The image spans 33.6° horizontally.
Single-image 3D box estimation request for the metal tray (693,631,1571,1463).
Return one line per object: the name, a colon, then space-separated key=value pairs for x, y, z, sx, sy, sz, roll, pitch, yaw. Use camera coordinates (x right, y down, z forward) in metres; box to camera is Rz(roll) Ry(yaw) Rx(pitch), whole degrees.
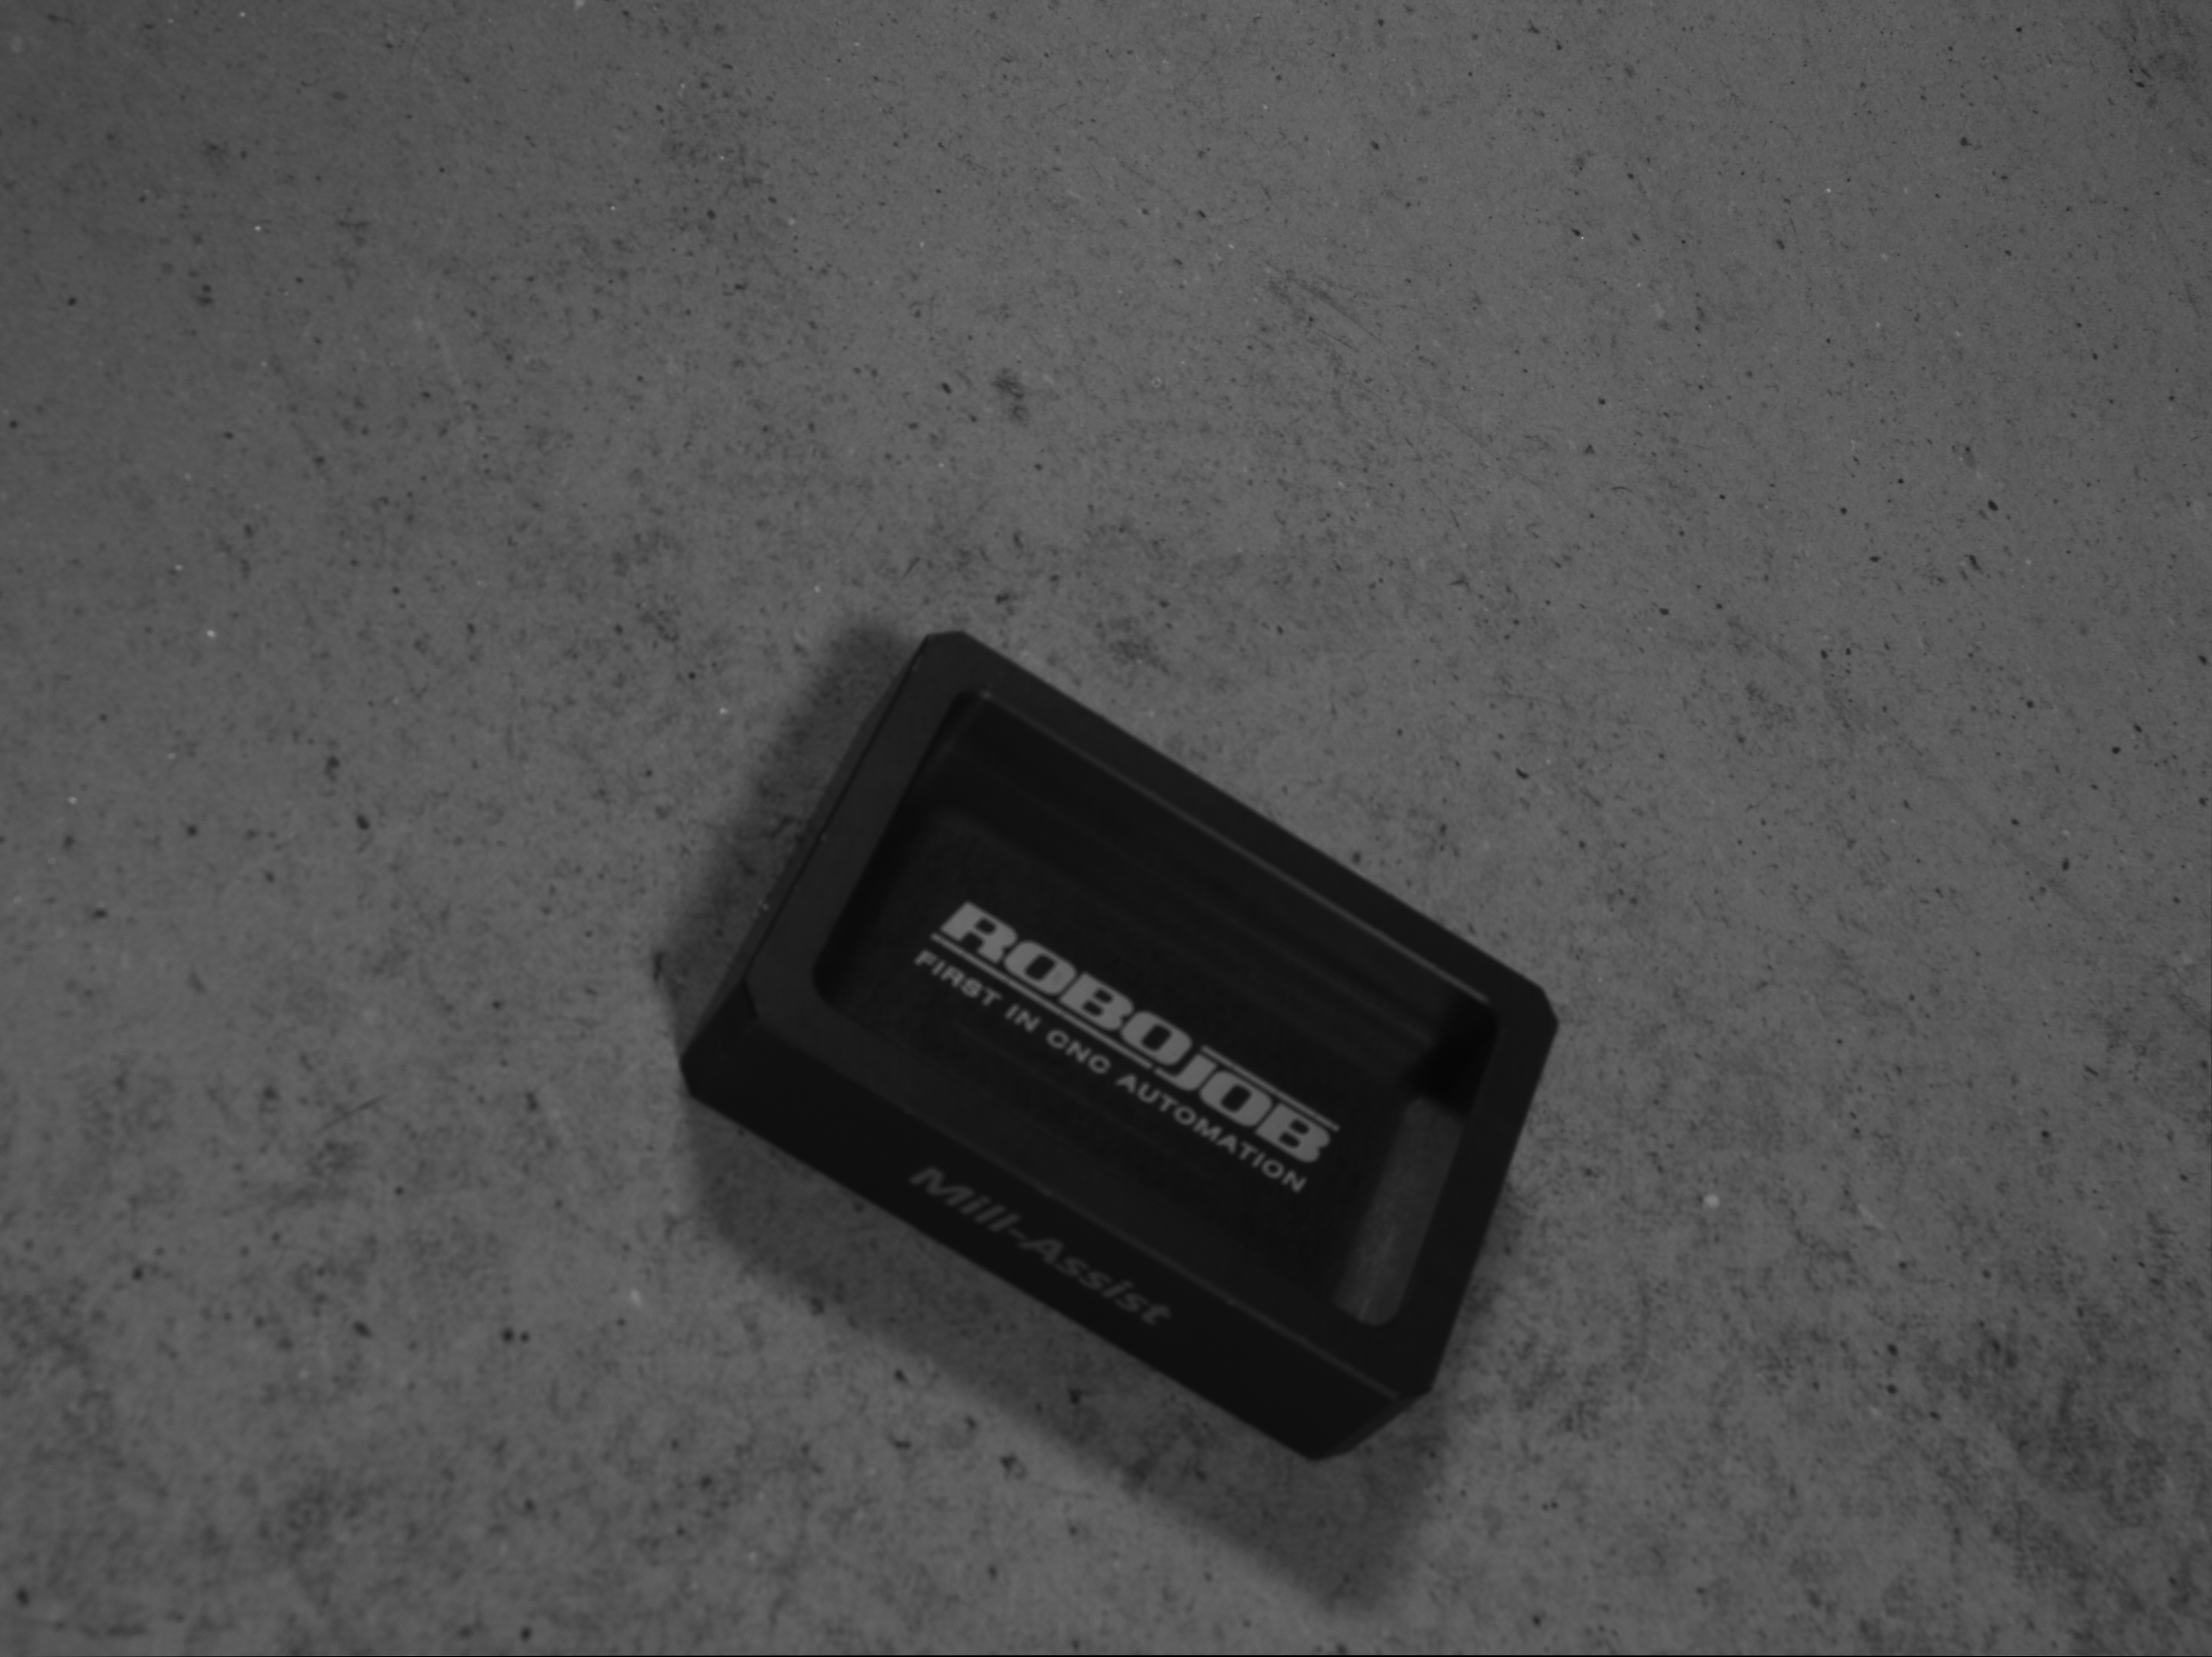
metal tray: x=0.007 y=0.036 z=0.619 sx=0.130 sy=0.030 sz=0.090 roll=32 pitch=52 yaw=-8
